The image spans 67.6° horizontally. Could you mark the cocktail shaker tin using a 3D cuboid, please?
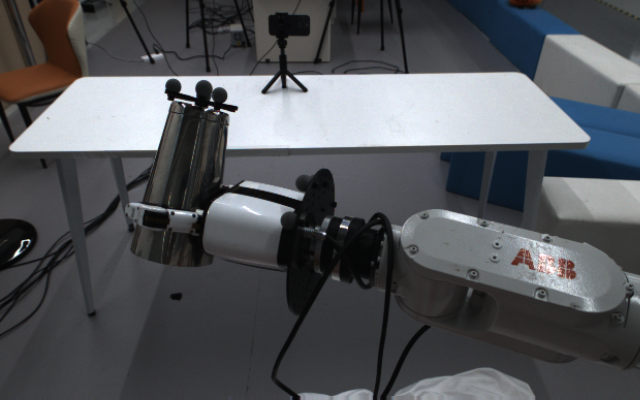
[{"bbox_3d":[-0.151,-0.019,0.549,0.093,0.170,0.093,12,4,-1],"label":"cocktail shaker tin"}]
